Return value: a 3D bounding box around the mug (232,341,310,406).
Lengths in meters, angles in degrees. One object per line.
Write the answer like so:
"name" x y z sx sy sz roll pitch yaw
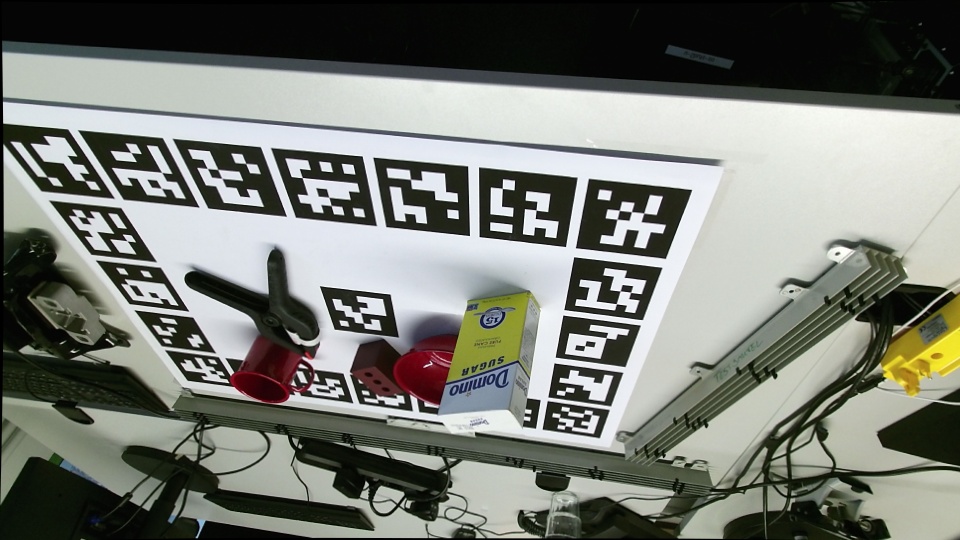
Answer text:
"mug" -0.330 0.173 0.860 0.117 0.081 0.093 27 133 -10

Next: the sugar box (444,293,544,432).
"sugar box" 0.021 0.110 0.661 0.093 0.175 0.045 -12 128 24

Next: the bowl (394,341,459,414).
"bowl" -0.043 0.156 0.804 0.162 0.055 0.162 7 135 7

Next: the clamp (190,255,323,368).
"clamp" -0.294 0.072 0.780 0.166 0.036 0.203 -13 129 20

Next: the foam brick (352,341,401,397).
"foam brick" -0.158 0.157 0.841 0.053 0.051 0.078 -15 128 24
